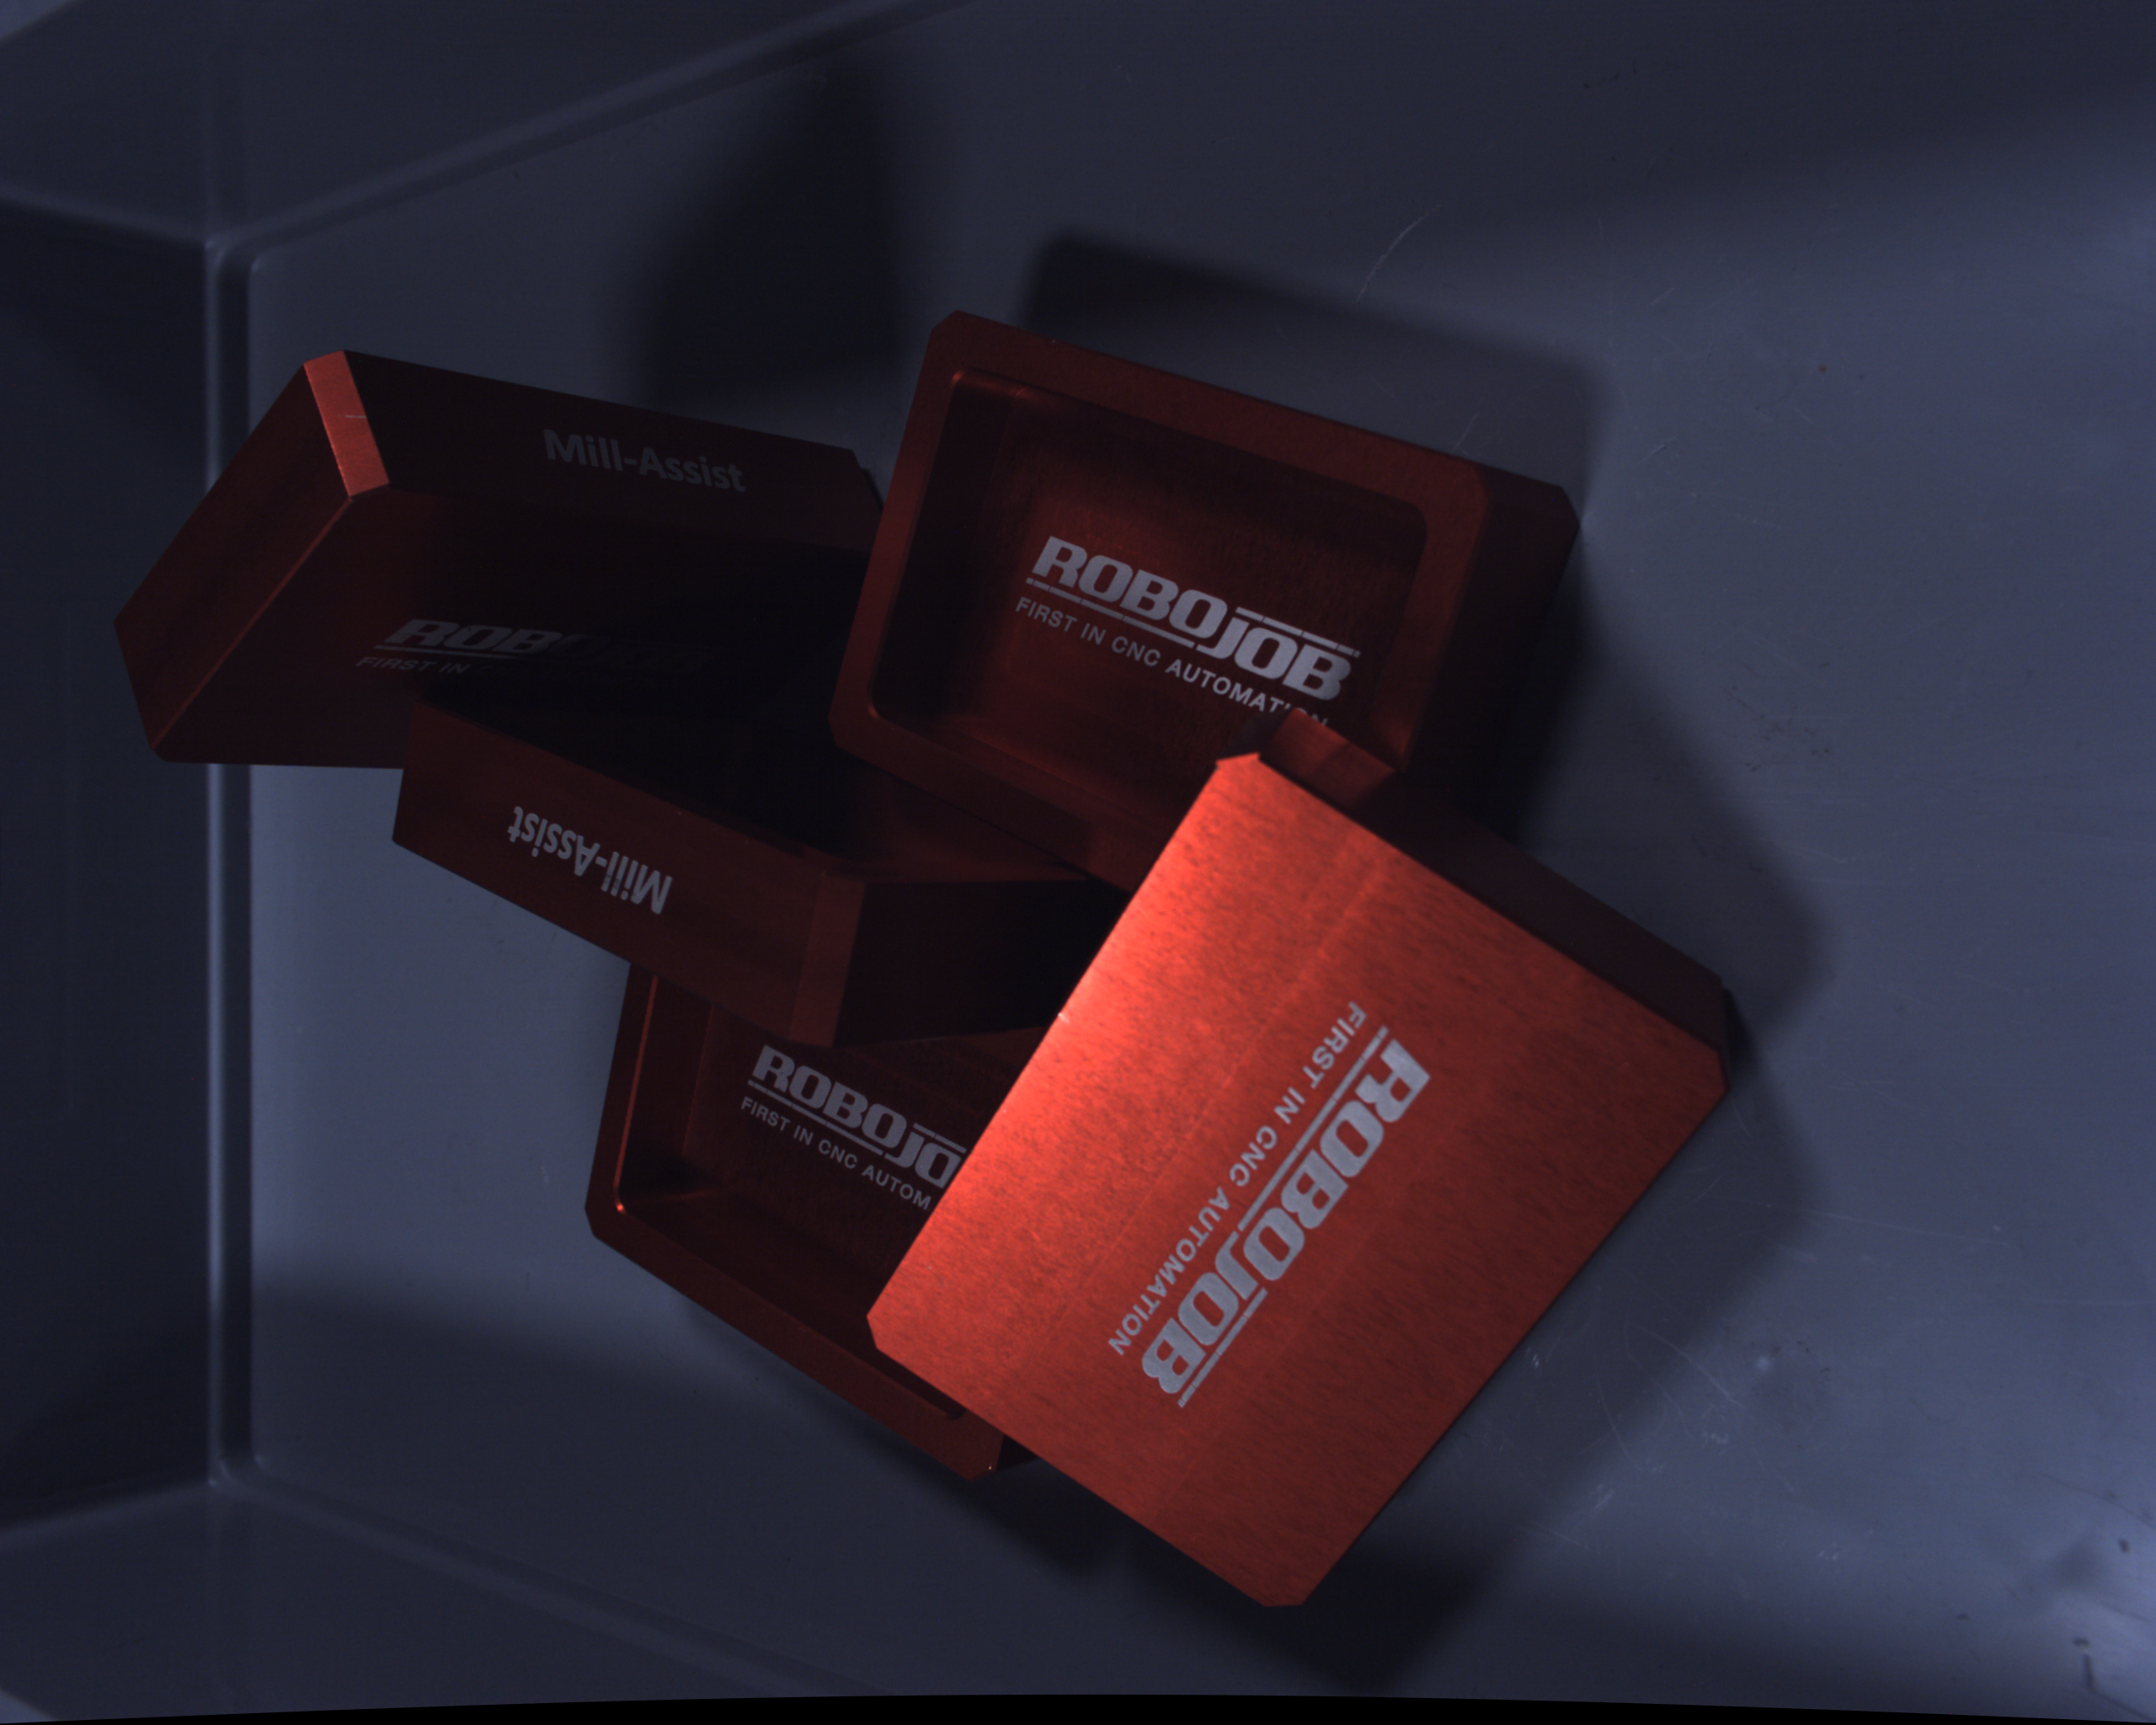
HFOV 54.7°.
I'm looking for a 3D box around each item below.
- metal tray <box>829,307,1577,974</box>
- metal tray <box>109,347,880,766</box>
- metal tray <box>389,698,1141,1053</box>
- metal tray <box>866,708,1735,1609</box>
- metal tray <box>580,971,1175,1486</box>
[{"bbox_3d":[0.017,-0.043,0.386,0.130,0.030,0.089,27,106,36],"label":"metal tray"},{"bbox_3d":[-0.113,-0.055,0.425,0.090,0.131,0.030,-37,68,34],"label":"metal tray"},{"bbox_3d":[-0.060,-0.001,0.408,0.130,0.091,0.030,20,103,38],"label":"metal tray"},{"bbox_3d":[0.034,0.051,0.346,0.090,0.030,0.129,33,114,4],"label":"metal tray"},{"bbox_3d":[-0.047,0.059,0.436,0.130,0.030,0.089,21,103,37],"label":"metal tray"}]
